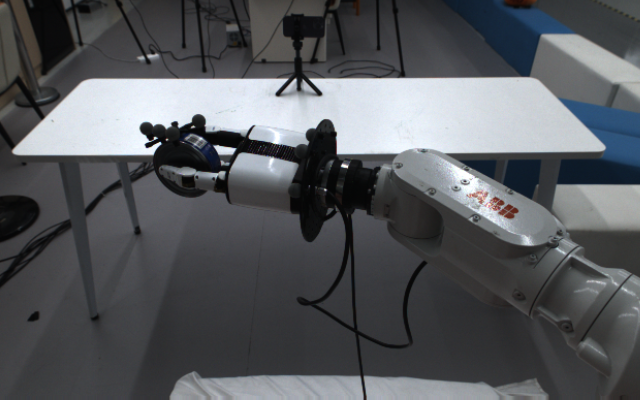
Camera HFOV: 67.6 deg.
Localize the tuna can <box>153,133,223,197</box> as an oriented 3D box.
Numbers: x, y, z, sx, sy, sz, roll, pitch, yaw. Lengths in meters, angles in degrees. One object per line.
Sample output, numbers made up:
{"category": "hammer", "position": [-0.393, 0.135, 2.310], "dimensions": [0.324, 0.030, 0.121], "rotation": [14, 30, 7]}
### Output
{"category": "tuna can", "position": [-0.176, -0.046, 0.659], "dimensions": [0.085, 0.085, 0.034], "rotation": [9, 32, 10]}
